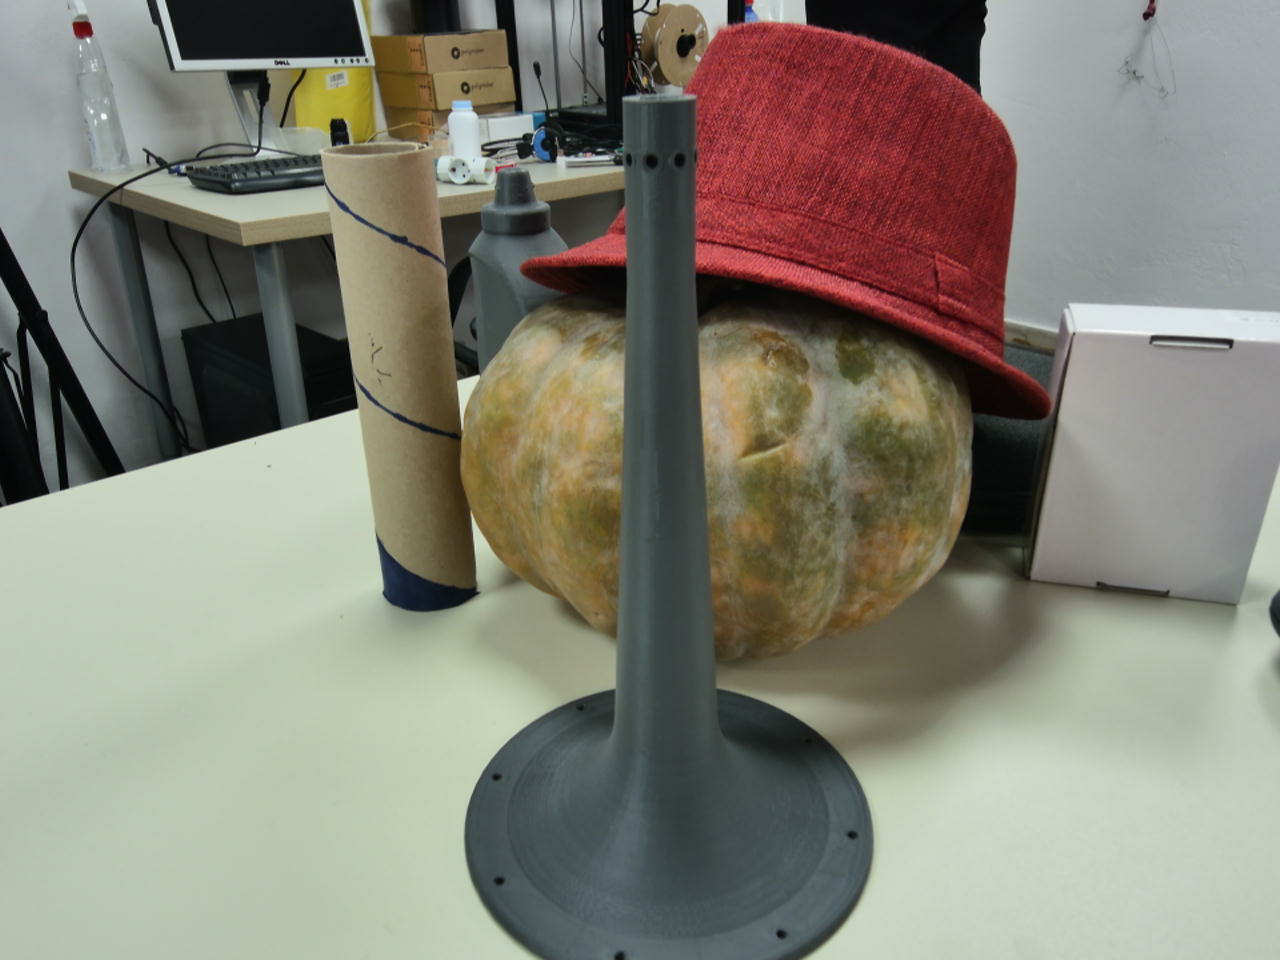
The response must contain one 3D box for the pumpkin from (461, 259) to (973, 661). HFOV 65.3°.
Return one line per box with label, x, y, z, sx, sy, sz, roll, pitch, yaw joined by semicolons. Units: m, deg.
pumpkin;0.037;-0.020;0.488;0.252;0.169;0.251;0;24;0
